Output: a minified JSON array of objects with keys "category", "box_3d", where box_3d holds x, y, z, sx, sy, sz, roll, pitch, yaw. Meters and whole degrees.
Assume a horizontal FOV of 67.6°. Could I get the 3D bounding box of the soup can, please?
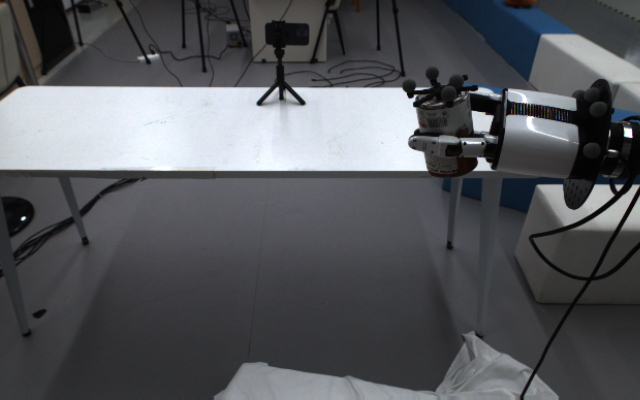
[{"category":"soup can","box_3d":[0.165,-0.090,0.626,0.067,0.101,0.067,-13,31,8]}]
